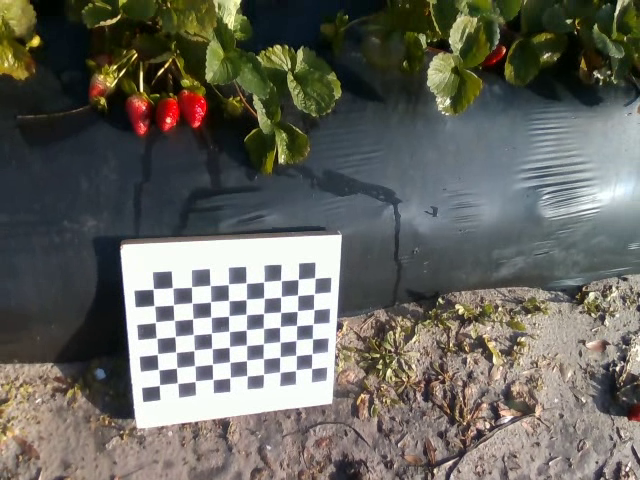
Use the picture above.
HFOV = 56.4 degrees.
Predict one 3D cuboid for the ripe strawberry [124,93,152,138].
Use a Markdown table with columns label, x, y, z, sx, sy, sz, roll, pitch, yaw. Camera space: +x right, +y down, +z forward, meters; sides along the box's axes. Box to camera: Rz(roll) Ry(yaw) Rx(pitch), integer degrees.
| label | x | y | z | sx | sy | sz | roll | pitch | yaw |
| --- | --- | --- | --- | --- | --- | --- | --- | --- | --- |
| ripe strawberry | -0.196 | -0.133 | 0.646 | 0.031 | 0.046 | 0.023 | -4 | 4 | -12 |

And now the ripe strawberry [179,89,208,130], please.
| label | x | y | z | sx | sy | sz | roll | pitch | yaw |
| --- | --- | --- | --- | --- | --- | --- | --- | --- | --- |
| ripe strawberry | -0.139 | -0.136 | 0.655 | 0.035 | 0.041 | 0.034 | -7 | -31 | -10 |

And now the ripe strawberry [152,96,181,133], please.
| label | x | y | z | sx | sy | sz | roll | pitch | yaw |
| --- | --- | --- | --- | --- | --- | --- | --- | --- | --- |
| ripe strawberry | -0.166 | -0.133 | 0.645 | 0.030 | 0.037 | 0.039 | 7 | 42 | -15 |
